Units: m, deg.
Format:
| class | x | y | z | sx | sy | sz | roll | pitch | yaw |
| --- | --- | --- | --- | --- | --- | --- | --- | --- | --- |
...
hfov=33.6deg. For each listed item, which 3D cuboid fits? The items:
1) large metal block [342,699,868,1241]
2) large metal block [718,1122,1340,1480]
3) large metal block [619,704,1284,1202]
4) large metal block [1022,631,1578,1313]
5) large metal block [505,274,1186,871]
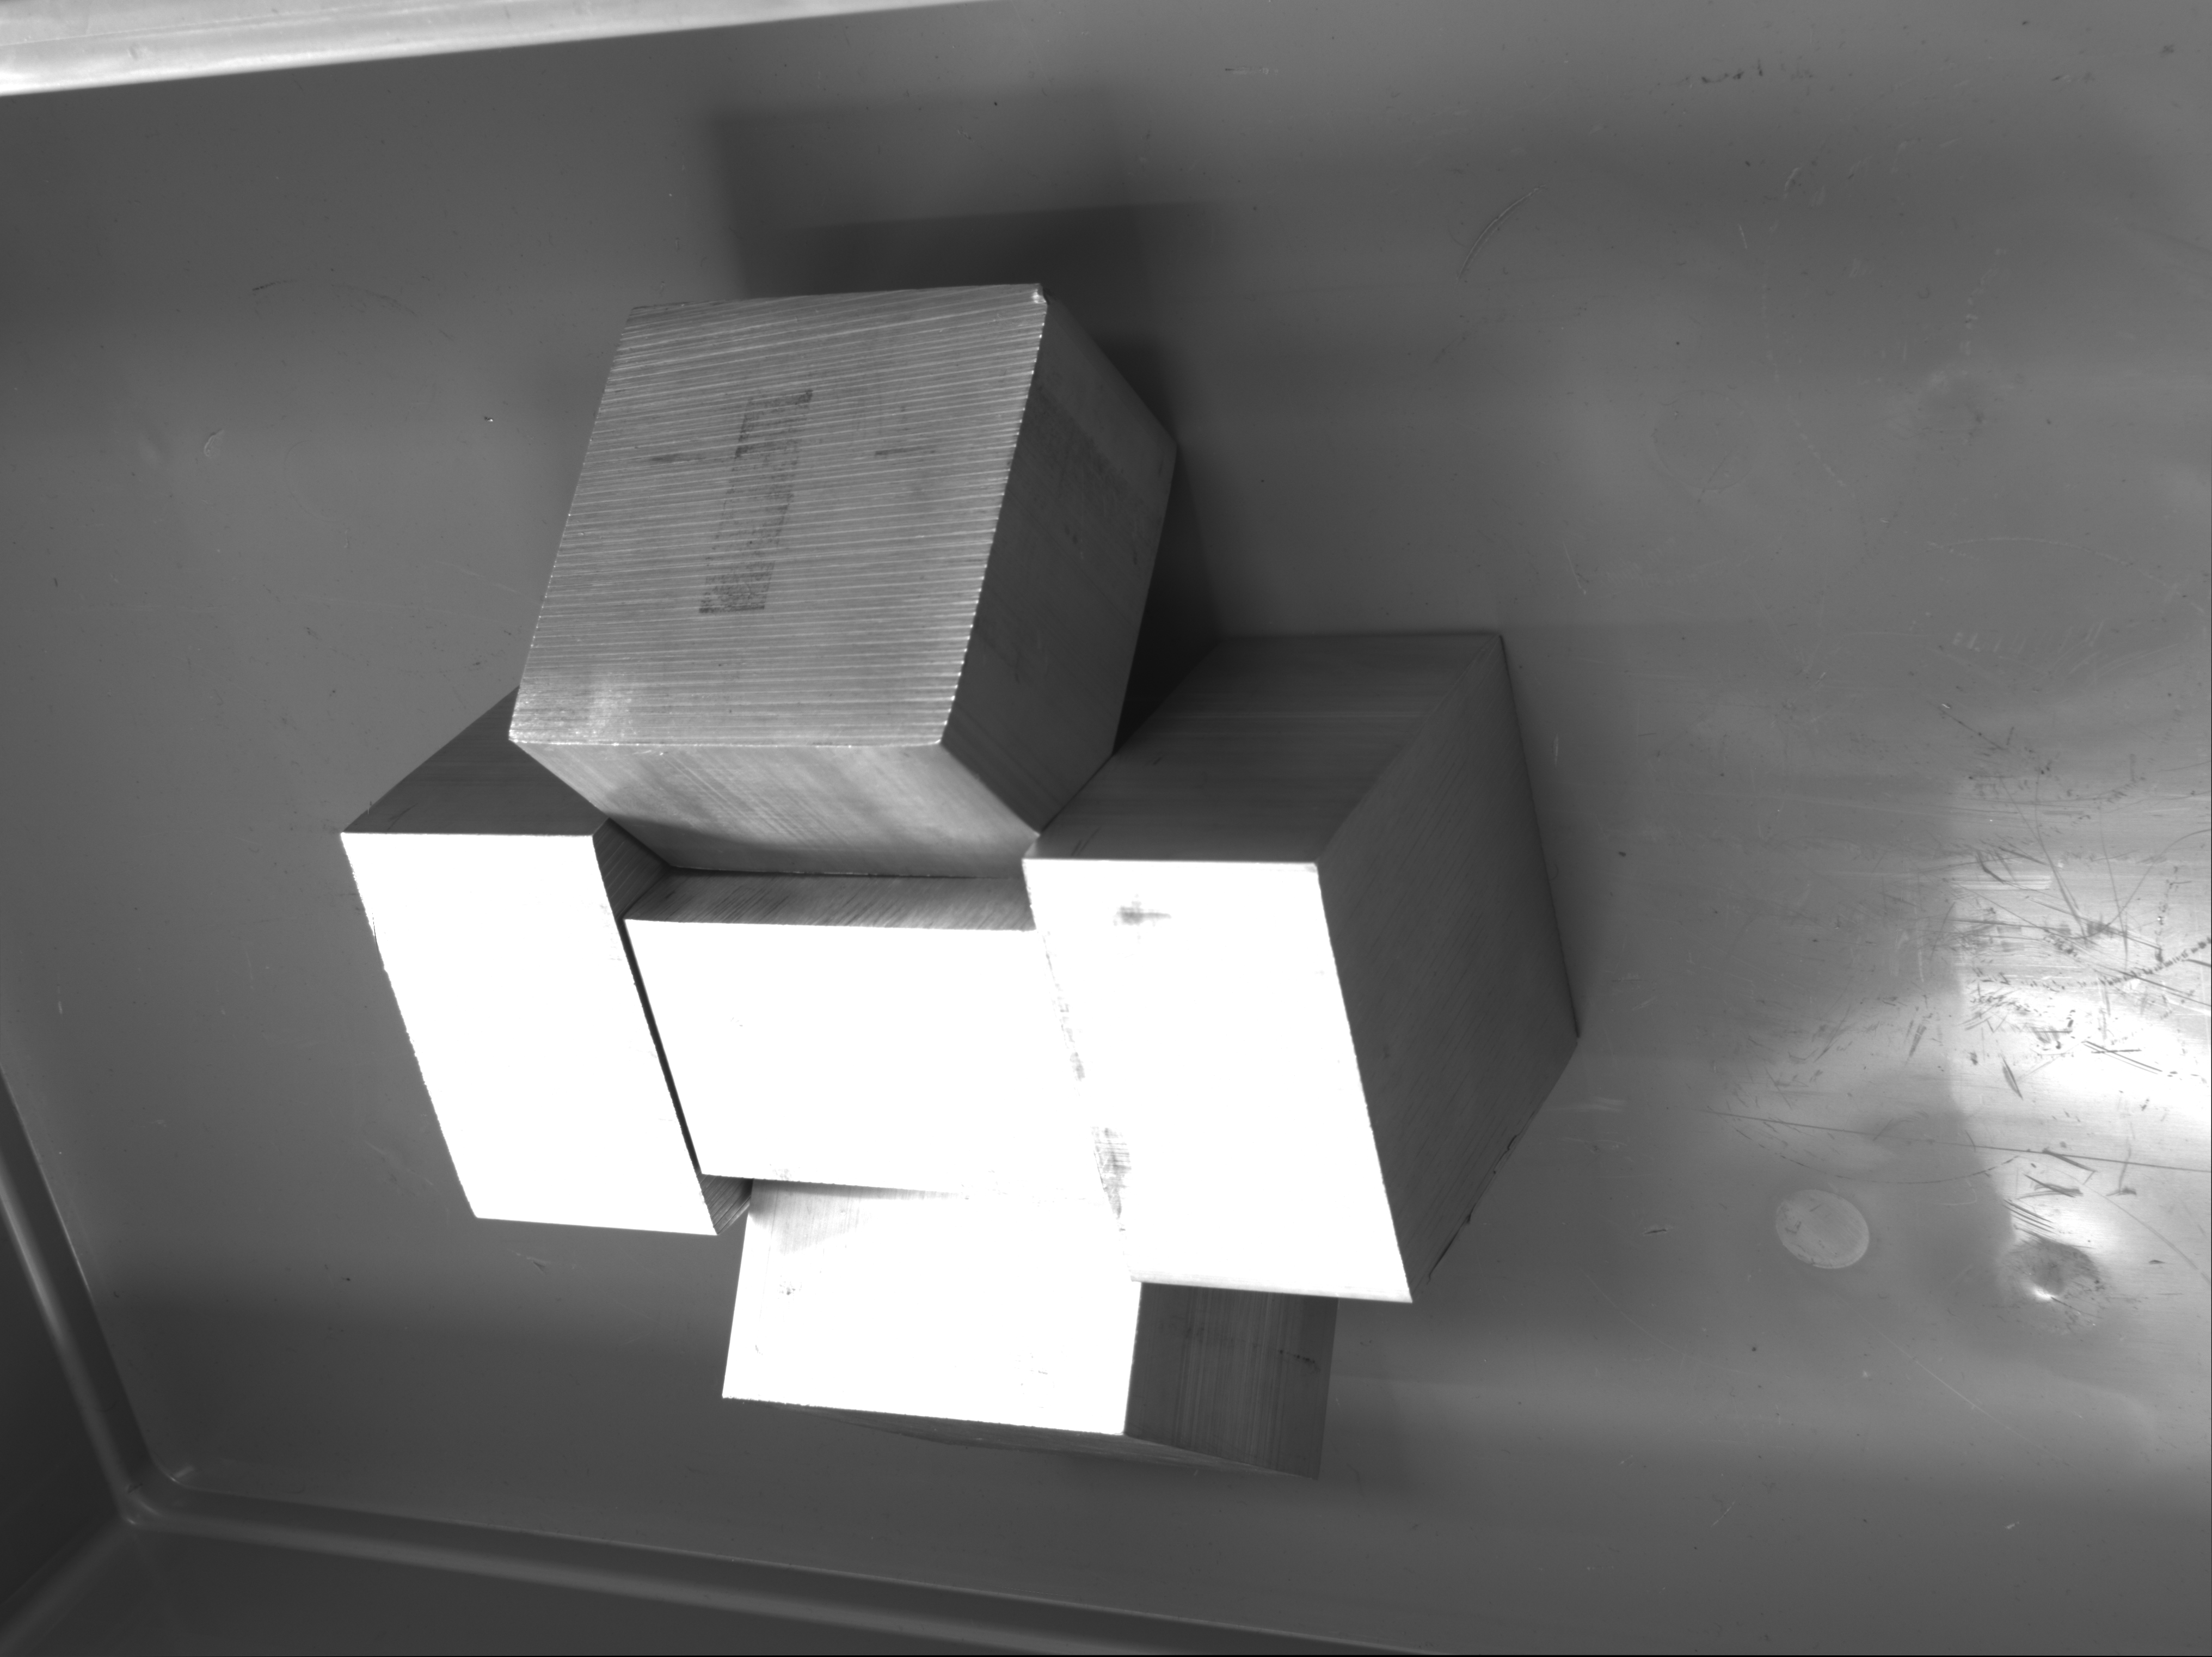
| class | x | y | z | sx | sy | sz | roll | pitch | yaw |
| --- | --- | --- | --- | --- | --- | --- | --- | --- | --- |
| large metal block | -0.083 | 0.017 | 0.661 | 0.050 | 0.080 | 0.080 | 1 | 119 | 28 |
| large metal block | -0.011 | 0.084 | 0.655 | 0.080 | 0.080 | 0.050 | 0 | 76 | 27 |
| large metal block | -0.023 | 0.019 | 0.630 | 0.080 | 0.080 | 0.050 | 1 | 119 | 28 |
| large metal block | 0.035 | 0.021 | 0.601 | 0.050 | 0.080 | 0.080 | 1 | 119 | 28 |
| large metal block | -0.041 | -0.040 | 0.595 | 0.080 | 0.080 | 0.050 | 2 | 157 | 27 |
